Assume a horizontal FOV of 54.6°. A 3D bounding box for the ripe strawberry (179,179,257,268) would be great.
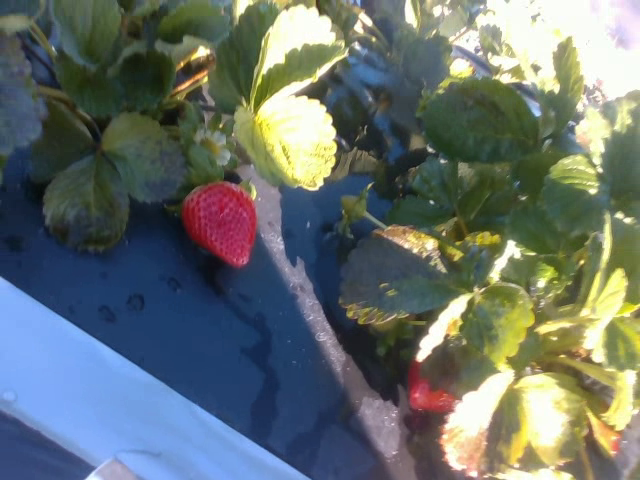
[{"bbox_3d":[-0.050,-0.007,0.325,0.045,0.059,0.042,-20,-21,1],"label":"ripe strawberry"}]
